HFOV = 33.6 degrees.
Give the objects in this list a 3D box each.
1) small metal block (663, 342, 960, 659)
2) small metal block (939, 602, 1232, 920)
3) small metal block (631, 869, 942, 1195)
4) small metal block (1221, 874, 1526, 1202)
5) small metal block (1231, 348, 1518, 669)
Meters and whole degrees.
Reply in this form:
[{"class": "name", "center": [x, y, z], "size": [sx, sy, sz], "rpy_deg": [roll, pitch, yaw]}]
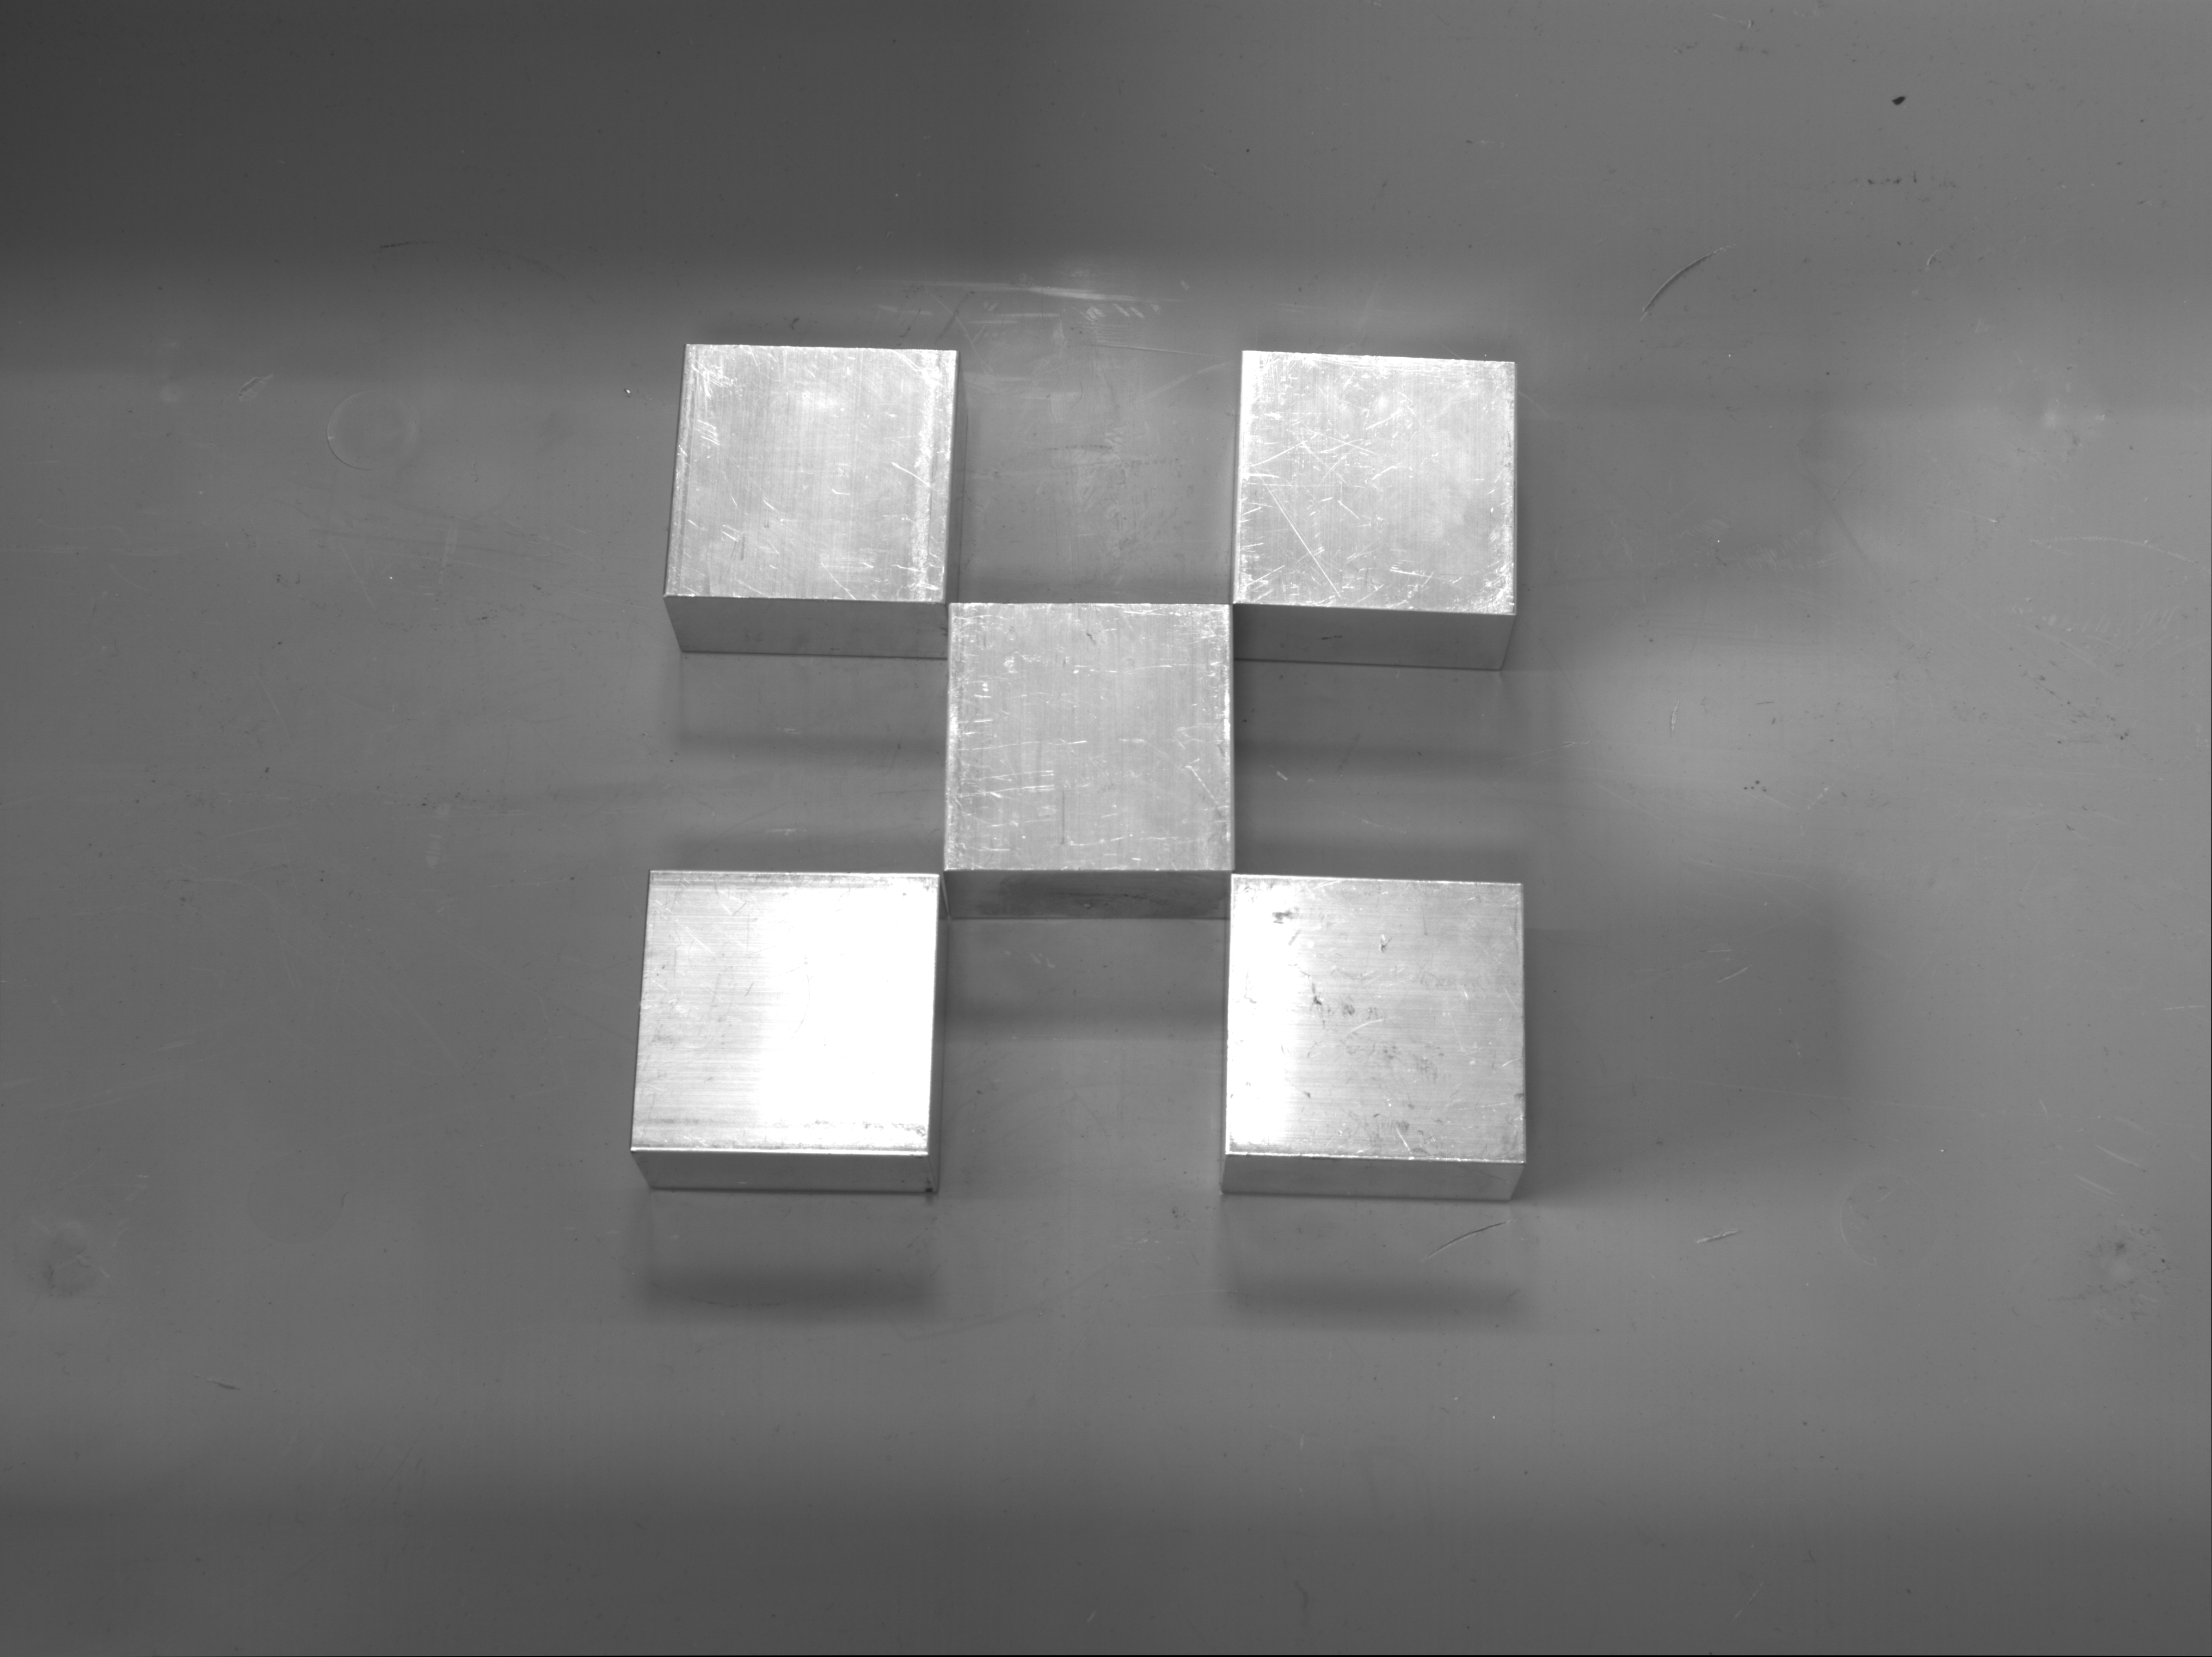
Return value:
[{"class": "small metal block", "center": [-0.052, -0.059, 0.665], "size": [0.050, 0.025, 0.050], "rpy_deg": [2, 70, 1]}, {"class": "small metal block", "center": [-0.003, -0.012, 0.647], "size": [0.050, 0.025, 0.050], "rpy_deg": [1, 70, 0]}, {"class": "small metal block", "center": [-0.054, 0.035, 0.630], "size": [0.050, 0.025, 0.050], "rpy_deg": [1, 70, 0]}, {"class": "small metal block", "center": [0.045, 0.036, 0.629], "size": [0.050, 0.025, 0.050], "rpy_deg": [1, 70, 1]}, {"class": "small metal block", "center": [0.048, -0.058, 0.664], "size": [0.050, 0.025, 0.050], "rpy_deg": [2, 70, 1]}]
